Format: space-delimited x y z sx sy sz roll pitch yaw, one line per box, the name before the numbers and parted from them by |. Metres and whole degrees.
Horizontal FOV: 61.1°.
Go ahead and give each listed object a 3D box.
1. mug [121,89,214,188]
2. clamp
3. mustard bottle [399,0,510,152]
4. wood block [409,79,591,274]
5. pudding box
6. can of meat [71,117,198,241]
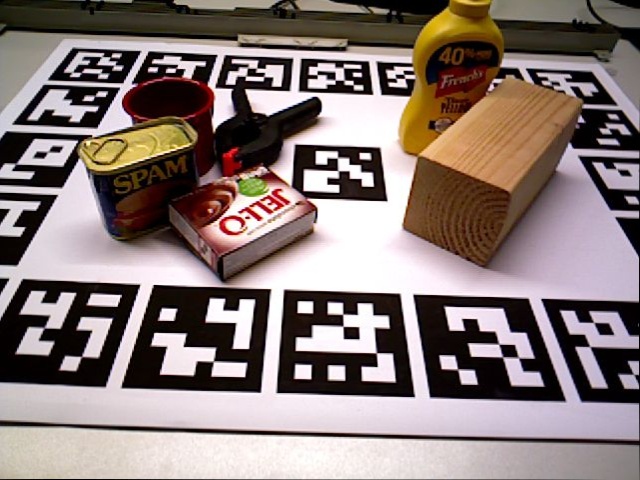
mug | -0.154 -0.110 0.594 0.093 0.083 0.114 18 48 14
clamp | -0.073 -0.132 0.626 0.122 0.037 0.161 16 49 11
mustard bottle | 0.144 -0.185 0.571 0.095 0.196 0.057 -2 46 -5
wood block | 0.183 -0.072 0.540 0.090 0.093 0.201 29 48 25
pudding box | -0.067 -0.017 0.505 0.111 0.039 0.090 -28 53 -30
can of meat | -0.163 -0.056 0.498 0.100 0.085 0.057 -21 51 -23
